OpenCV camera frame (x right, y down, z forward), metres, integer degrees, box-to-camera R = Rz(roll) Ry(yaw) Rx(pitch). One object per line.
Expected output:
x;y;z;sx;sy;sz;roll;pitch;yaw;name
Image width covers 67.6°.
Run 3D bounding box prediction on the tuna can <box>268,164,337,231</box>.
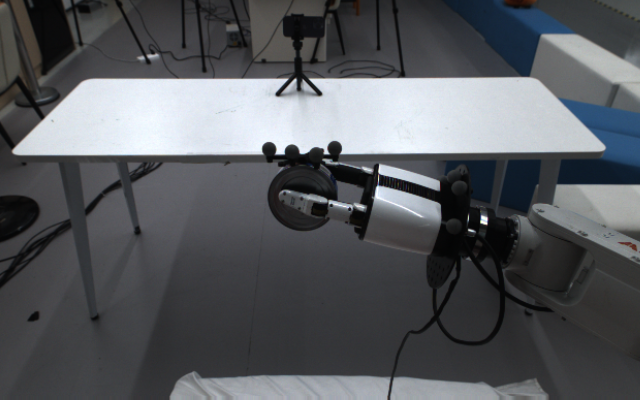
-0.018;-0.002;0.601;0.085;0.085;0.034;4;18;3;tuna can
